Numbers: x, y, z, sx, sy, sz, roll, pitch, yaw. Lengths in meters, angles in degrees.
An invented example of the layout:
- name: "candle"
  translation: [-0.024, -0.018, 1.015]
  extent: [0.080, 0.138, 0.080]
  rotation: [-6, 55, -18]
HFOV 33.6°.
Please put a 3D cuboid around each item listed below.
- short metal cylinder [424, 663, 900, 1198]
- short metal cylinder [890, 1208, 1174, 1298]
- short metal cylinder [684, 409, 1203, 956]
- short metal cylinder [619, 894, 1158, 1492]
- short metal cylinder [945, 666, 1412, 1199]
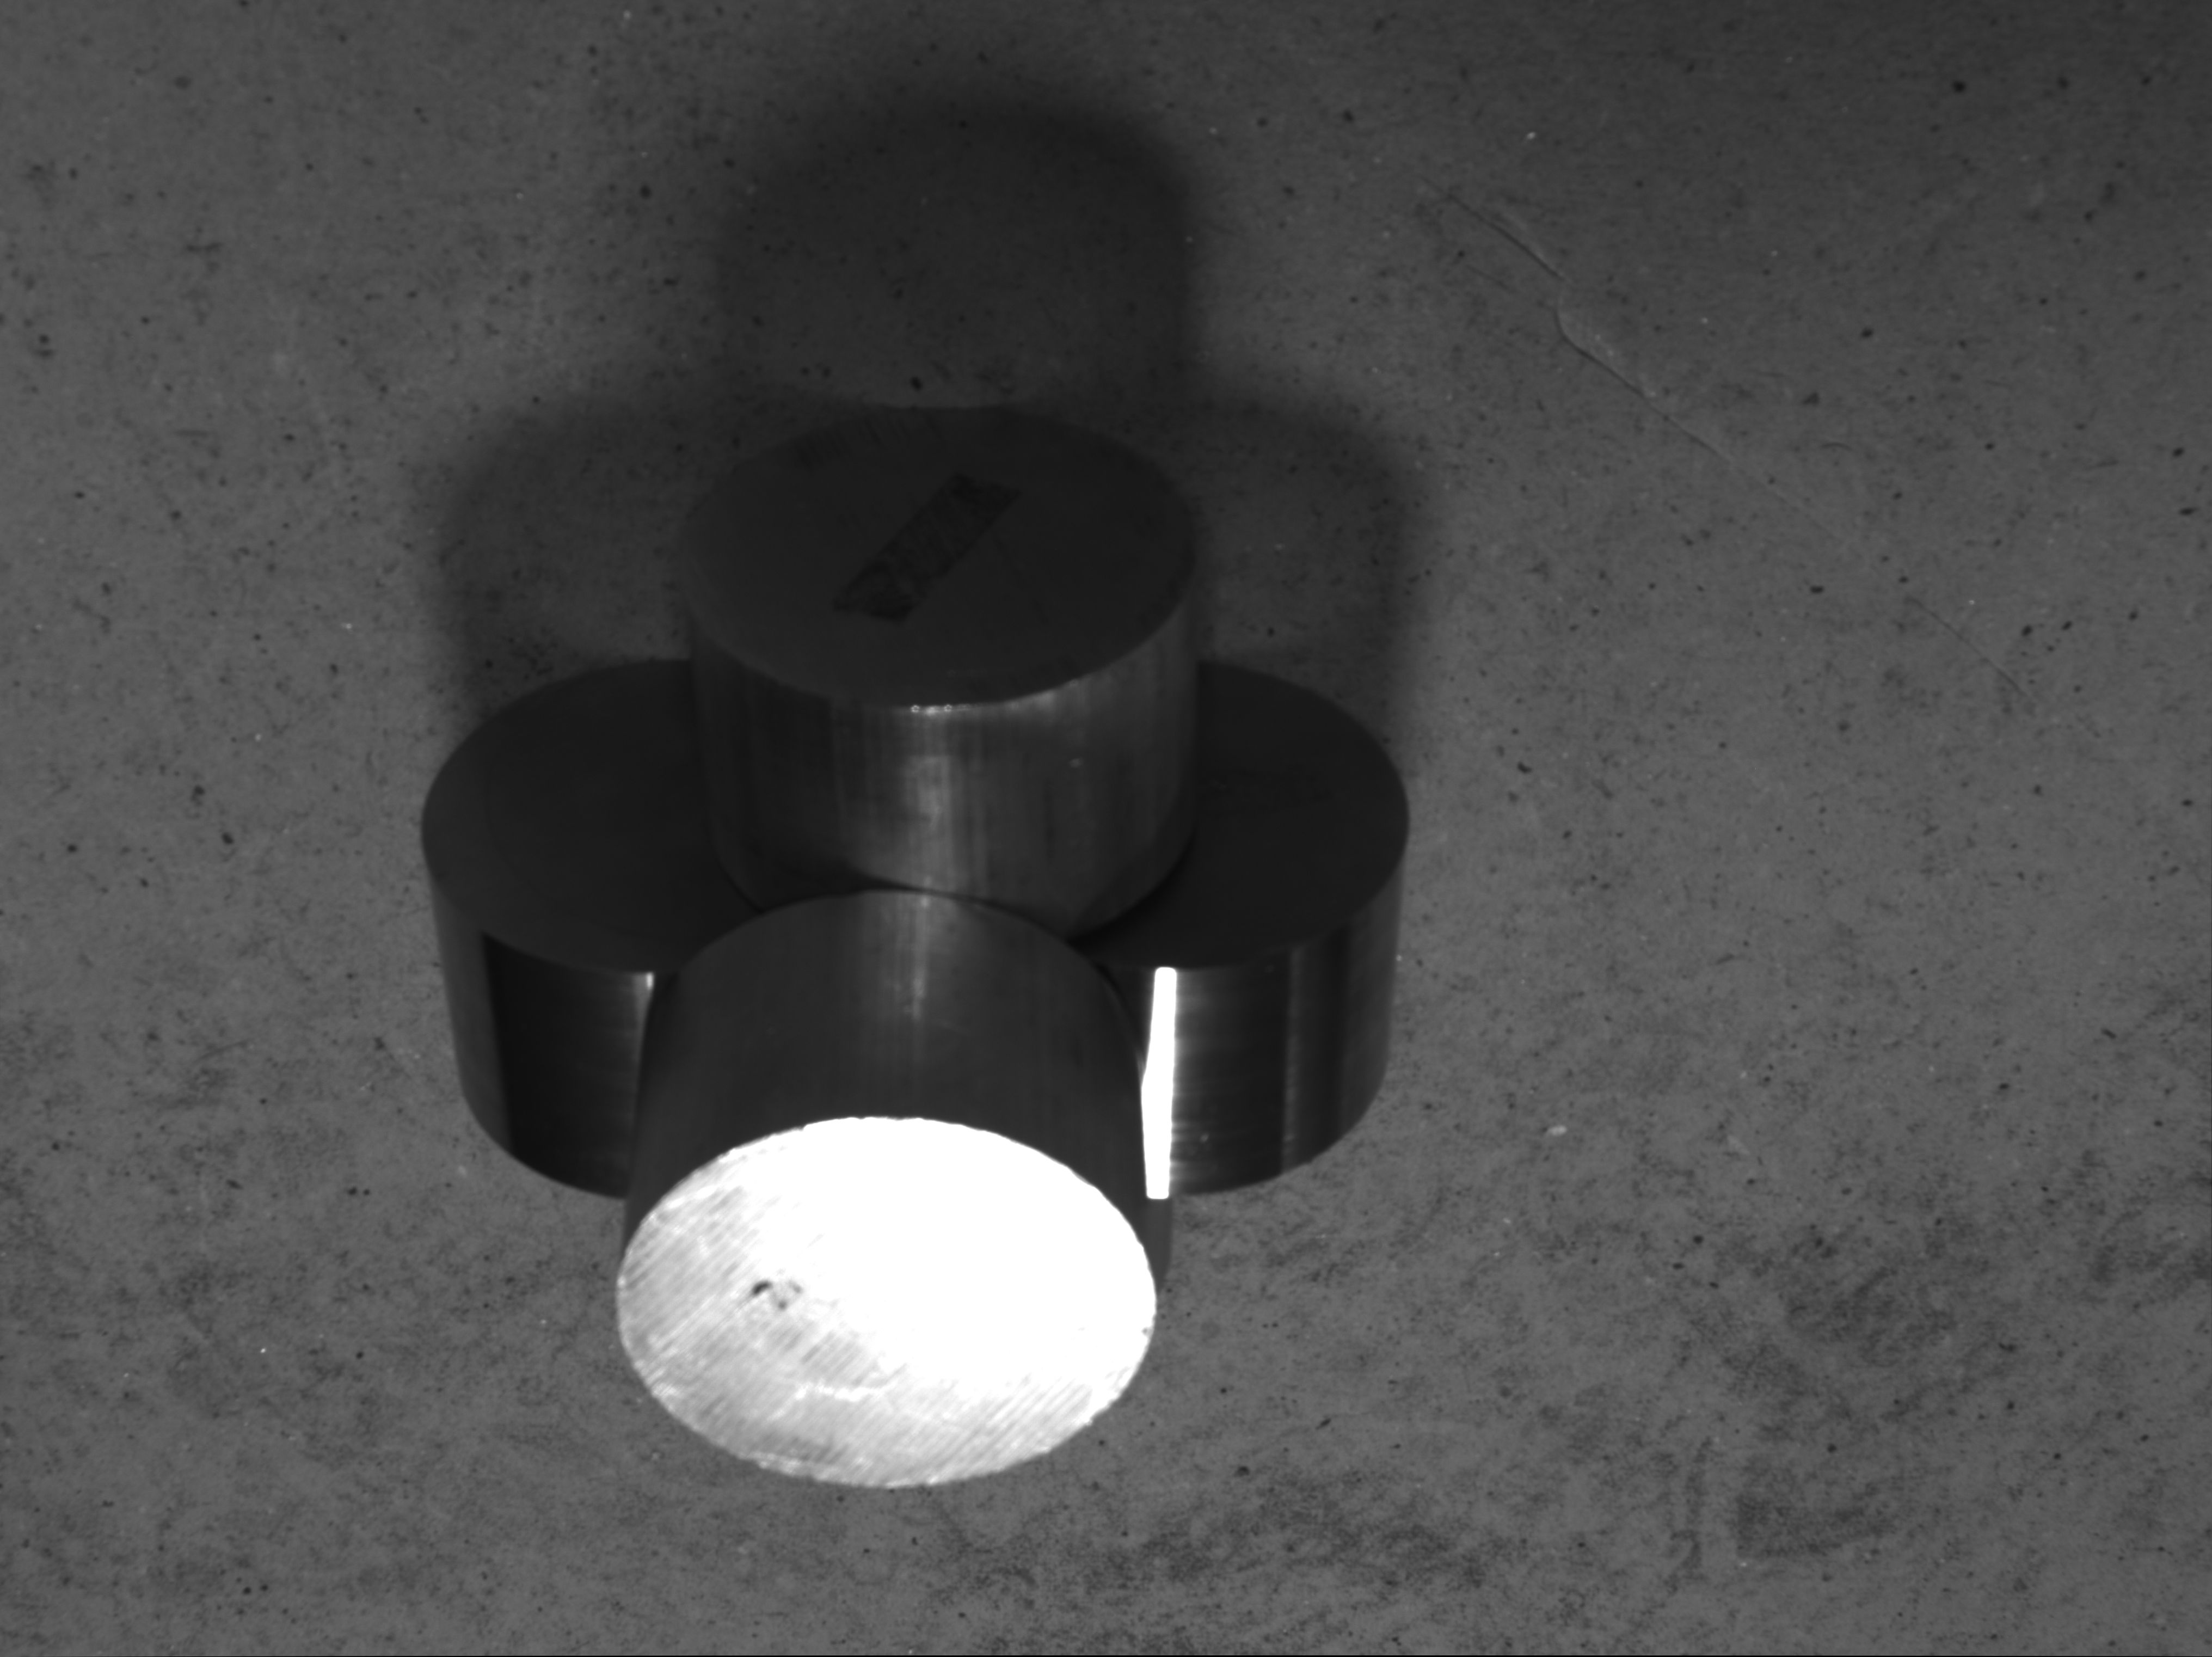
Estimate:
- name: "short metal cylinder"
  translation: [-0.071, 0.016, 0.614]
  extent: [0.080, 0.080, 0.050]
  rotation: [-1, 130, -1]
- name: "short metal cylinder"
  translation: [-0.027, 0.055, 0.648]
  extent: [0.080, 0.080, 0.050]
  rotation: [0, 130, -2]
- name: "short metal cylinder"
  translation: [-0.025, -0.024, 0.582]
  extent: [0.080, 0.080, 0.050]
  rotation: [-1, 130, -1]
- name: "short metal cylinder"
  translation: [-0.033, 0.057, 0.564]
  extent: [0.080, 0.050, 0.080]
  rotation: [-1, 130, -1]
- name: "short metal cylinder"
  translation: [0.010, 0.016, 0.616]
  extent: [0.080, 0.080, 0.050]
  rotation: [0, 130, -2]
